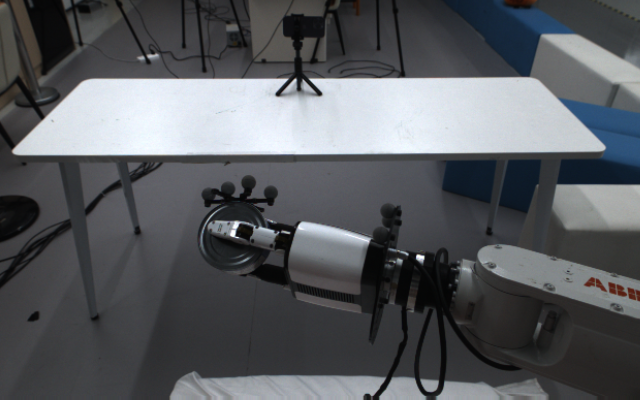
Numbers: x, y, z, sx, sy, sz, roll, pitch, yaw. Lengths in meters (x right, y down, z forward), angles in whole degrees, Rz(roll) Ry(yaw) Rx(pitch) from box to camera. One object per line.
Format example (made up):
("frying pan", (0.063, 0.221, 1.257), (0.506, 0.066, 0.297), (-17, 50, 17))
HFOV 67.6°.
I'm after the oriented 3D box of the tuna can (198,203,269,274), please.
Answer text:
("tuna can", (-0.099, 0.051, 0.583), (0.085, 0.034, 0.085), (-2, 69, 6))
